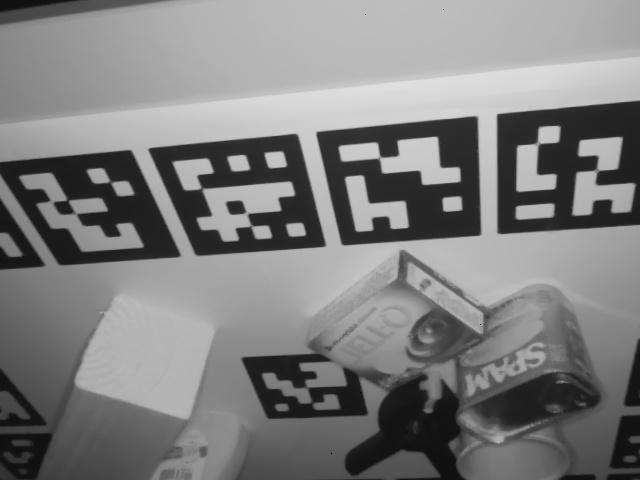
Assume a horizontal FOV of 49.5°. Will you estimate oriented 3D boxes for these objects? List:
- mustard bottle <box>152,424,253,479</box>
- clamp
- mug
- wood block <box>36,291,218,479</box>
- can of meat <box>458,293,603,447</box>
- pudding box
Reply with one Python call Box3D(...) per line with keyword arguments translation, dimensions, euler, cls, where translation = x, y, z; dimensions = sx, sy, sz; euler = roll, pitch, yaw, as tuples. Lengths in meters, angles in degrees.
Box3D(translation=(-0.124, 0.265, 0.640), dimensions=(0.096, 0.193, 0.058), euler=(-8, 128, 13), cls="mustard bottle")
Box3D(translation=(0.094, 0.196, 0.669), dimensions=(0.122, 0.037, 0.163), euler=(12, 128, -1), cls="clamp")
Box3D(translation=(0.167, 0.163, 0.628), dimensions=(0.093, 0.082, 0.115), euler=(13, 128, -4), cls="mug")
Box3D(translation=(-0.177, 0.153, 0.625), dimensions=(0.090, 0.092, 0.203), euler=(24, 130, -15), cls="wood block")
Box3D(translation=(0.157, 0.099, 0.538), dimensions=(0.100, 0.084, 0.058), euler=(-30, 119, 28), cls="can of meat")
Box3D(translation=(0.060, 0.071, 0.562), dimensions=(0.090, 0.039, 0.112), euler=(36, 126, -21), cls="pudding box")
